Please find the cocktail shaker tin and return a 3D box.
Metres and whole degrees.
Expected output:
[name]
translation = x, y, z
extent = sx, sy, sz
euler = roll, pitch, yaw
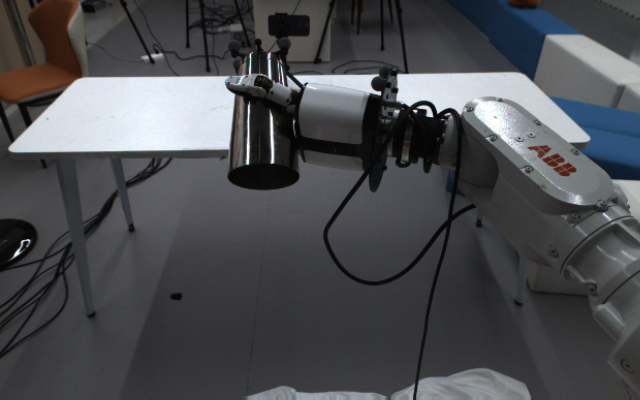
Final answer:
[cocktail shaker tin]
translation = -0.077, -0.108, 0.648
extent = 0.093, 0.093, 0.170
euler = -2, 71, -6
